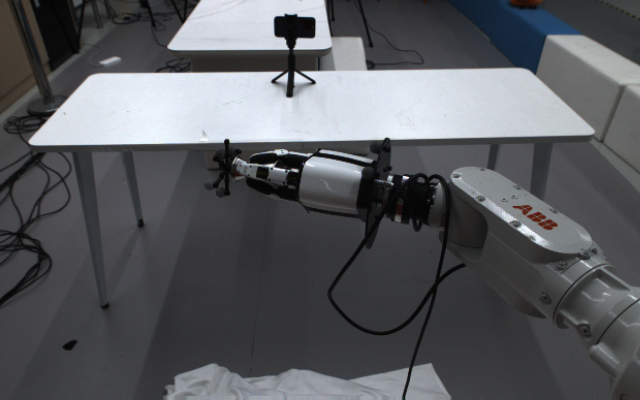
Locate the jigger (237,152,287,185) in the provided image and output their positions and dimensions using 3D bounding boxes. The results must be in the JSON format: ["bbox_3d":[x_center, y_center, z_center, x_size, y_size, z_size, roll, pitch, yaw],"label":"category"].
[{"bbox_3d":[-0.089,-0.047,0.727,0.071,0.043,0.043,7,35,15],"label":"jigger"}]
